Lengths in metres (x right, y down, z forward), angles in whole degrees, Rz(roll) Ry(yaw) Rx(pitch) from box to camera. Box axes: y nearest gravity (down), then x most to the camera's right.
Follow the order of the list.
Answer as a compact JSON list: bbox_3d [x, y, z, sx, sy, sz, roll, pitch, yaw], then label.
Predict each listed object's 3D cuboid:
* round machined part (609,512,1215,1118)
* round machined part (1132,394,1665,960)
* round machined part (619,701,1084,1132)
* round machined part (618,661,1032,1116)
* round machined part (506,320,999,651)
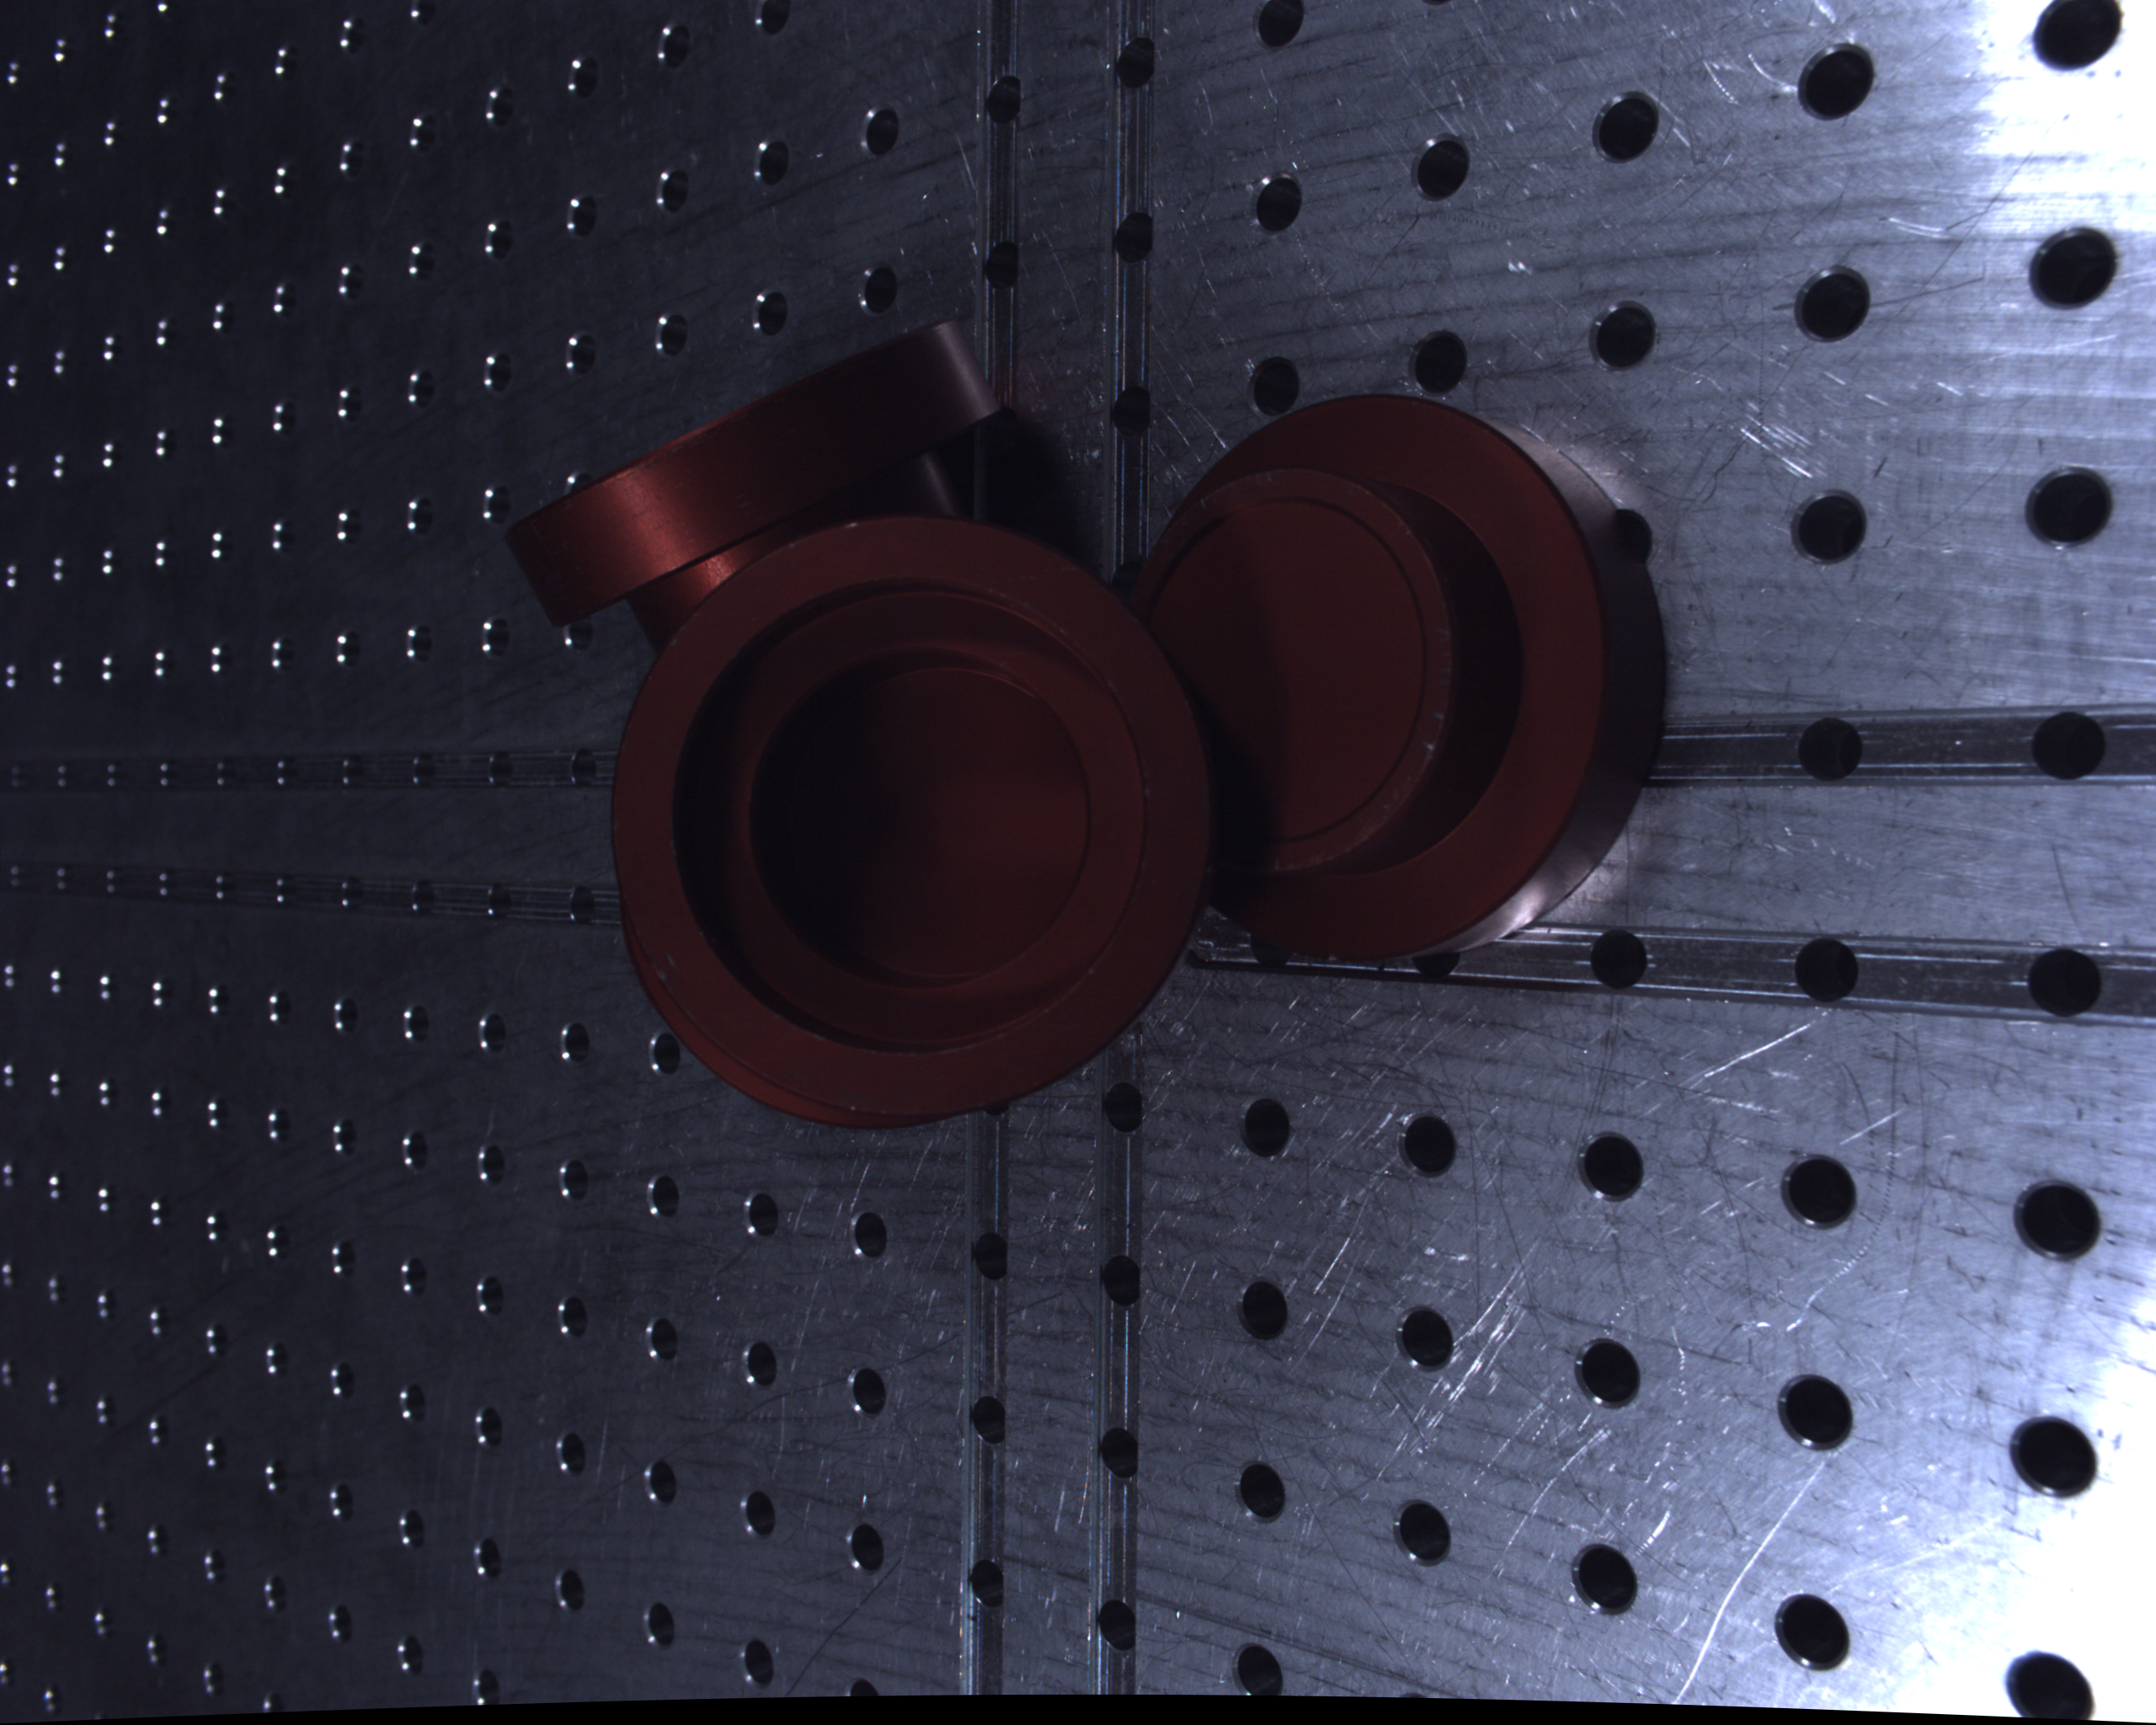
[{"bbox_3d":[-0.025,-0.007,0.355,0.099,0.042,0.097,0,89,6],"label":"round machined part"},{"bbox_3d":[0.046,-0.032,0.359,0.098,0.042,0.097,0,90,39],"label":"round machined part"},{"bbox_3d":[-0.039,0.003,0.398,0.099,0.042,0.097,0,87,2],"label":"round machined part"},{"bbox_3d":[-0.060,0.006,0.446,0.098,0.042,0.097,0,90,39],"label":"round machined part"},{"bbox_3d":[-0.059,-0.068,0.415,0.098,0.099,0.042,-16,106,38],"label":"round machined part"}]
